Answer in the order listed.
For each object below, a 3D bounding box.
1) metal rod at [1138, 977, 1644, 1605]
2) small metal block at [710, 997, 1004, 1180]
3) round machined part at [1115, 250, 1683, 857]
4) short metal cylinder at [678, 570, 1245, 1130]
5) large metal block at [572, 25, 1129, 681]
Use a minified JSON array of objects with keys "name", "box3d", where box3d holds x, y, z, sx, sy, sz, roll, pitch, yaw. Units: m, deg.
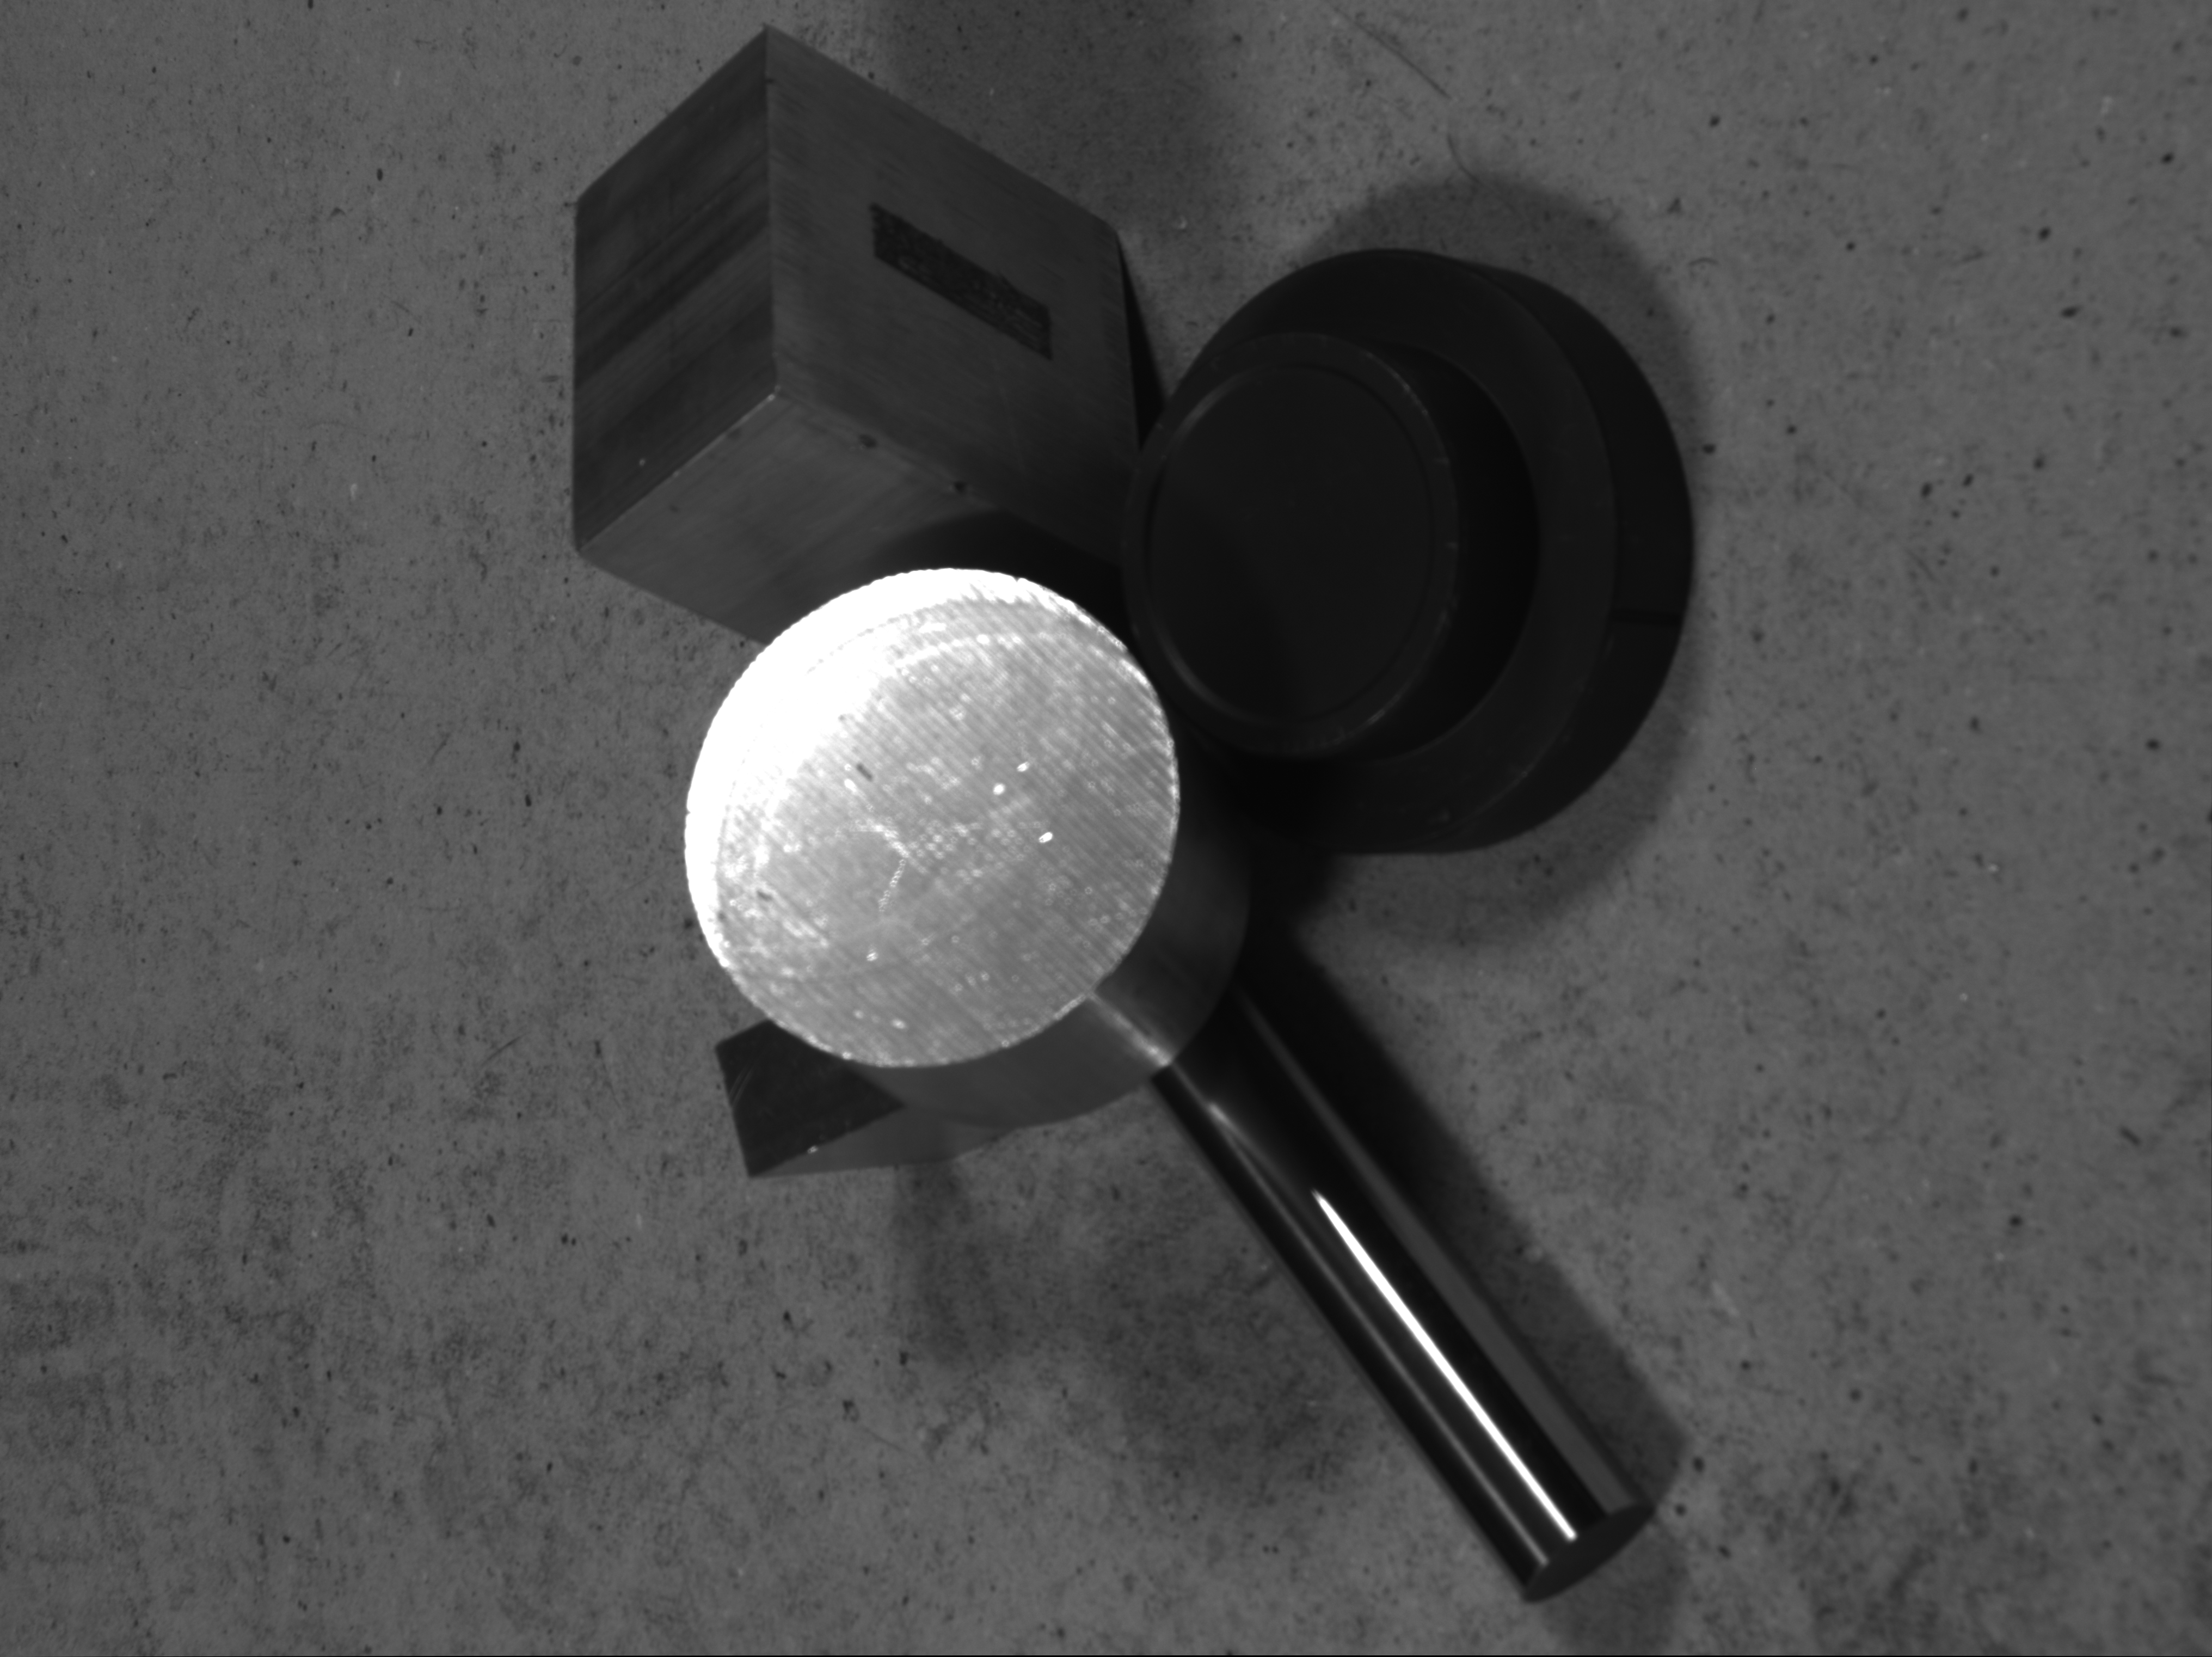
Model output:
[{"name":"metal rod","box3d":[-0.007,0.008,0.643,0.025,0.025,0.299,-52,60,27]},{"name":"small metal block","box3d":[-0.033,0.041,0.648,0.050,0.050,0.025,-27,72,36]},{"name":"round machined part","box3d":[0.040,-0.044,0.592,0.098,0.042,0.098,0,90,39]},{"name":"short metal cylinder","box3d":[-0.022,0.005,0.590,0.080,0.050,0.080,-4,73,15]},{"name":"large metal block","box3d":[-0.043,-0.075,0.623,0.050,0.080,0.080,-33,47,36]}]
